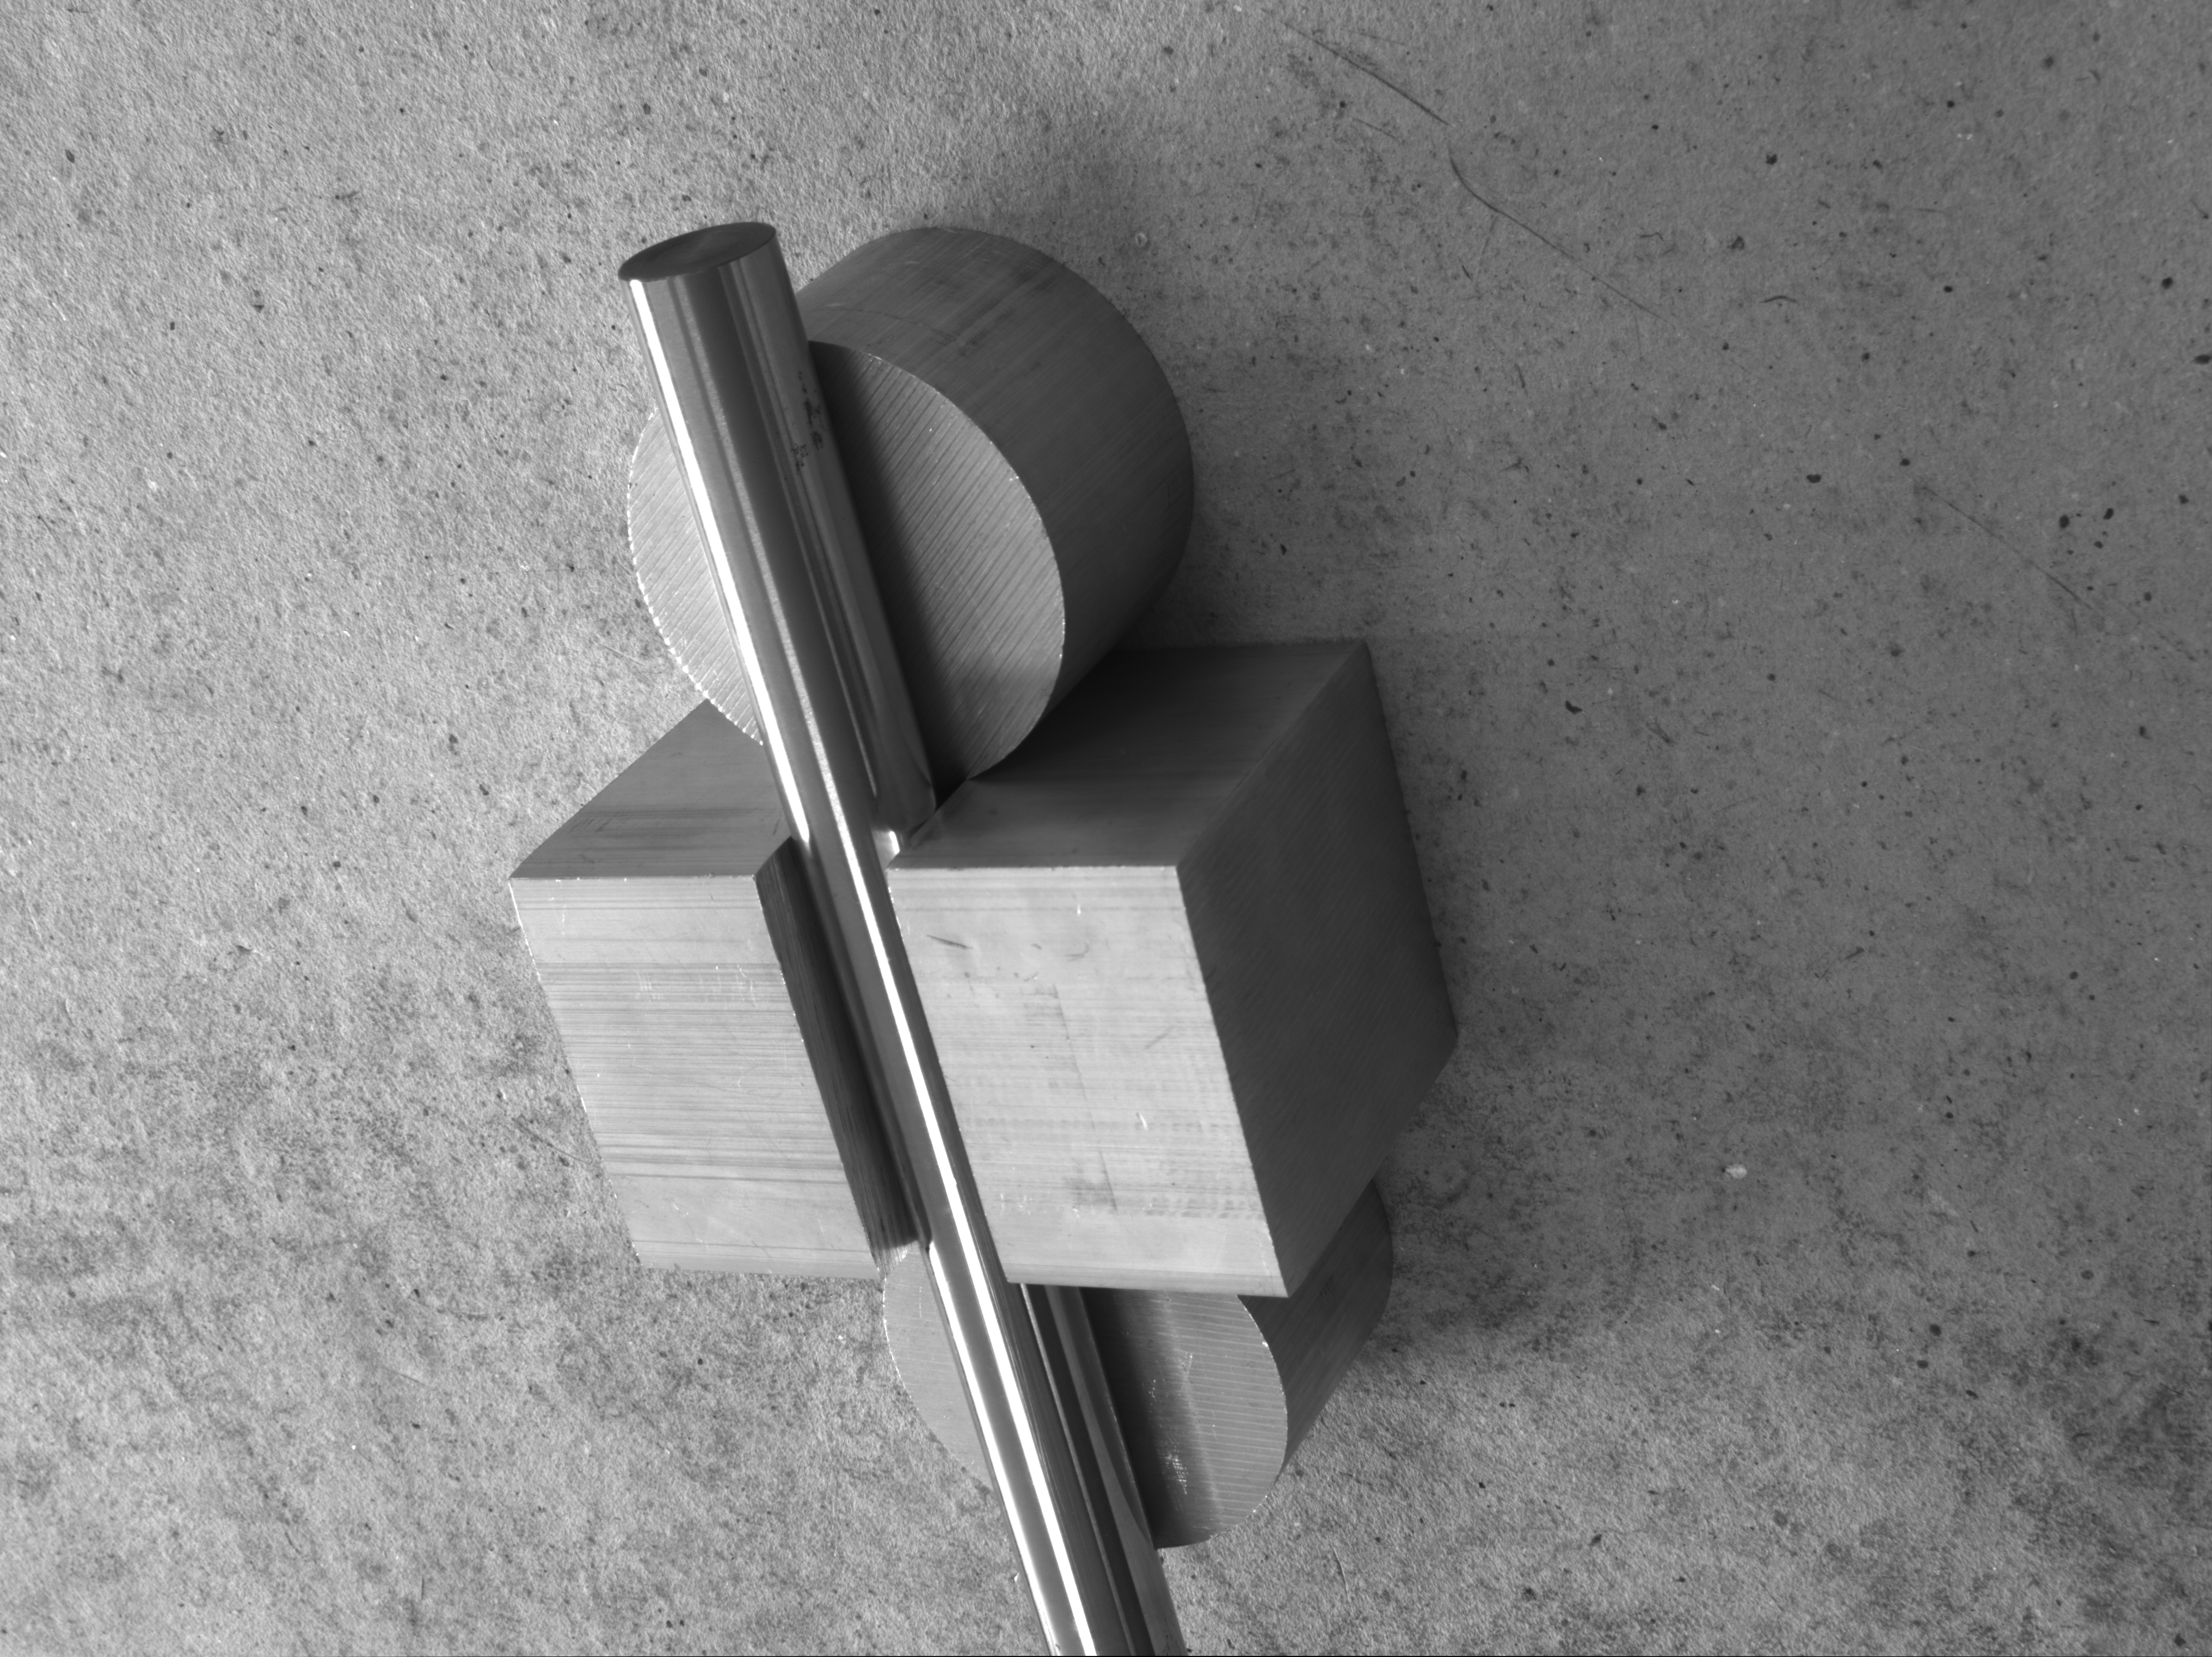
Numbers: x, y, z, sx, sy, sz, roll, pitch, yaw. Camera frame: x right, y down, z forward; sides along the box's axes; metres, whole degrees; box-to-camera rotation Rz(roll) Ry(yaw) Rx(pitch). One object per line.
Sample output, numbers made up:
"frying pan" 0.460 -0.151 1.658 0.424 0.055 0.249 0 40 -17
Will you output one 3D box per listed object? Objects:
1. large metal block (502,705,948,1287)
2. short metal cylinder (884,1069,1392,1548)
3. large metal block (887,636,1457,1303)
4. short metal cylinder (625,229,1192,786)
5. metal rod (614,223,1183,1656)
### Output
"large metal block" -0.053 0.024 0.651 0.050 0.080 0.080 -1 118 29
"short metal cylinder" 0.006 0.085 0.676 0.080 0.050 0.080 13 123 21
"large metal block" 0.014 0.022 0.614 0.050 0.080 0.080 -1 118 29
"short metal cylinder" -0.032 -0.053 0.612 0.080 0.050 0.080 13 123 21
"metal rod" -0.027 0.045 0.620 0.025 0.025 0.300 -1 118 29
